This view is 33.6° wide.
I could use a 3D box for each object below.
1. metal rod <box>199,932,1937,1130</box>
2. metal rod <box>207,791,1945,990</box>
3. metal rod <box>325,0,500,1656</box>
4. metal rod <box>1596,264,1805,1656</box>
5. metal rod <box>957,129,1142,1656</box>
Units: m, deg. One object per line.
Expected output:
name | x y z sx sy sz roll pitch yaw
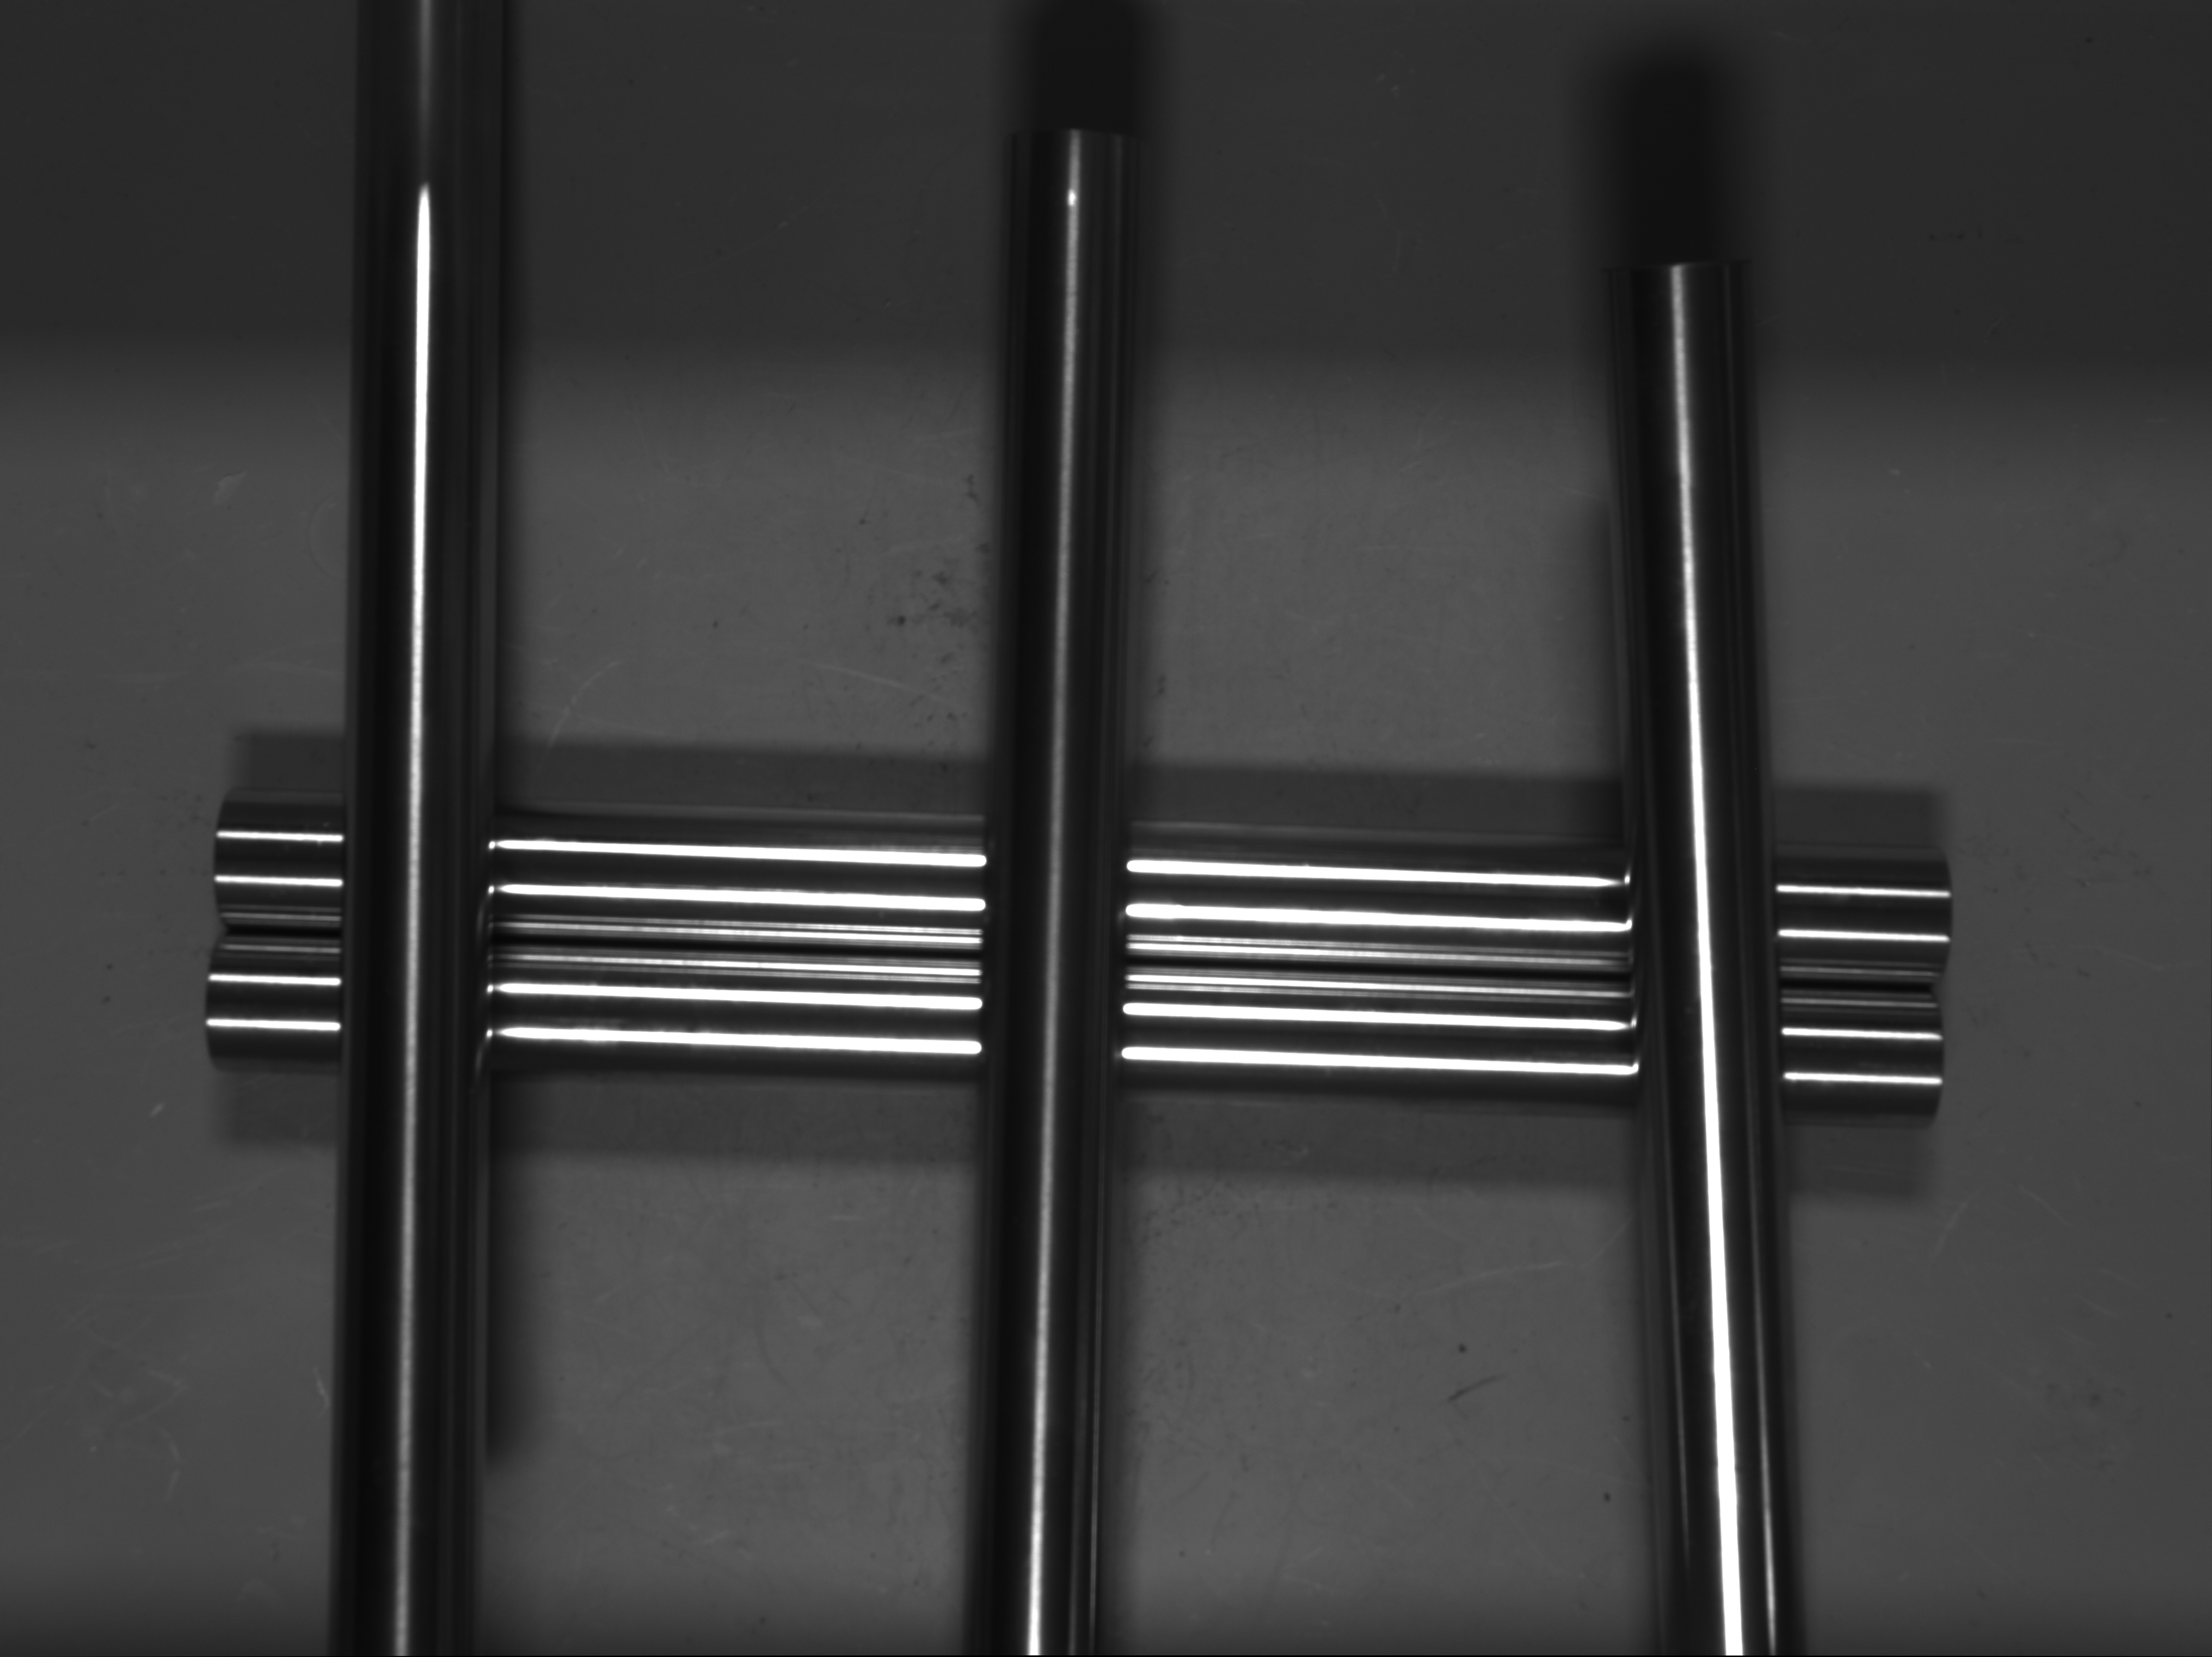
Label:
metal rod | -0.006 0.036 0.644 0.300 0.025 0.025 2 90 -1
metal rod | -0.005 0.011 0.644 0.300 0.025 0.025 2 90 -1
metal rod | -0.117 -0.010 0.619 0.025 0.025 0.300 -1 82 0
metal rod | 0.103 0.056 0.623 0.025 0.025 0.300 -4 98 0
metal rod | -0.010 0.034 0.619 0.025 0.025 0.300 1 90 0
